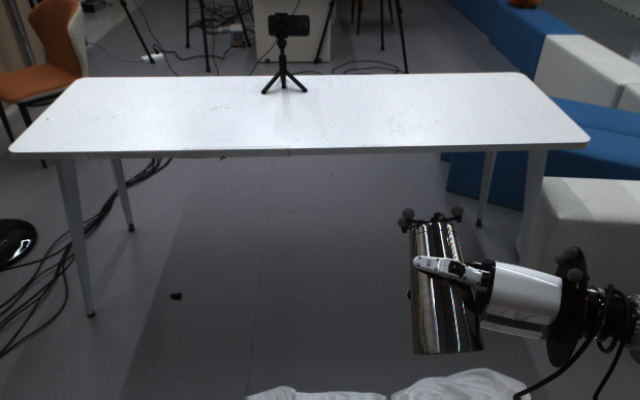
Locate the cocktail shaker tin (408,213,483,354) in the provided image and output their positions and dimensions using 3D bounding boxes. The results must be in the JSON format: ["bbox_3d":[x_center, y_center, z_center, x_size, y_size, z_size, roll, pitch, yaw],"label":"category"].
[{"bbox_3d":[0.165,0.121,0.662,0.093,0.093,0.170,-2,70,-5],"label":"cocktail shaker tin"}]
